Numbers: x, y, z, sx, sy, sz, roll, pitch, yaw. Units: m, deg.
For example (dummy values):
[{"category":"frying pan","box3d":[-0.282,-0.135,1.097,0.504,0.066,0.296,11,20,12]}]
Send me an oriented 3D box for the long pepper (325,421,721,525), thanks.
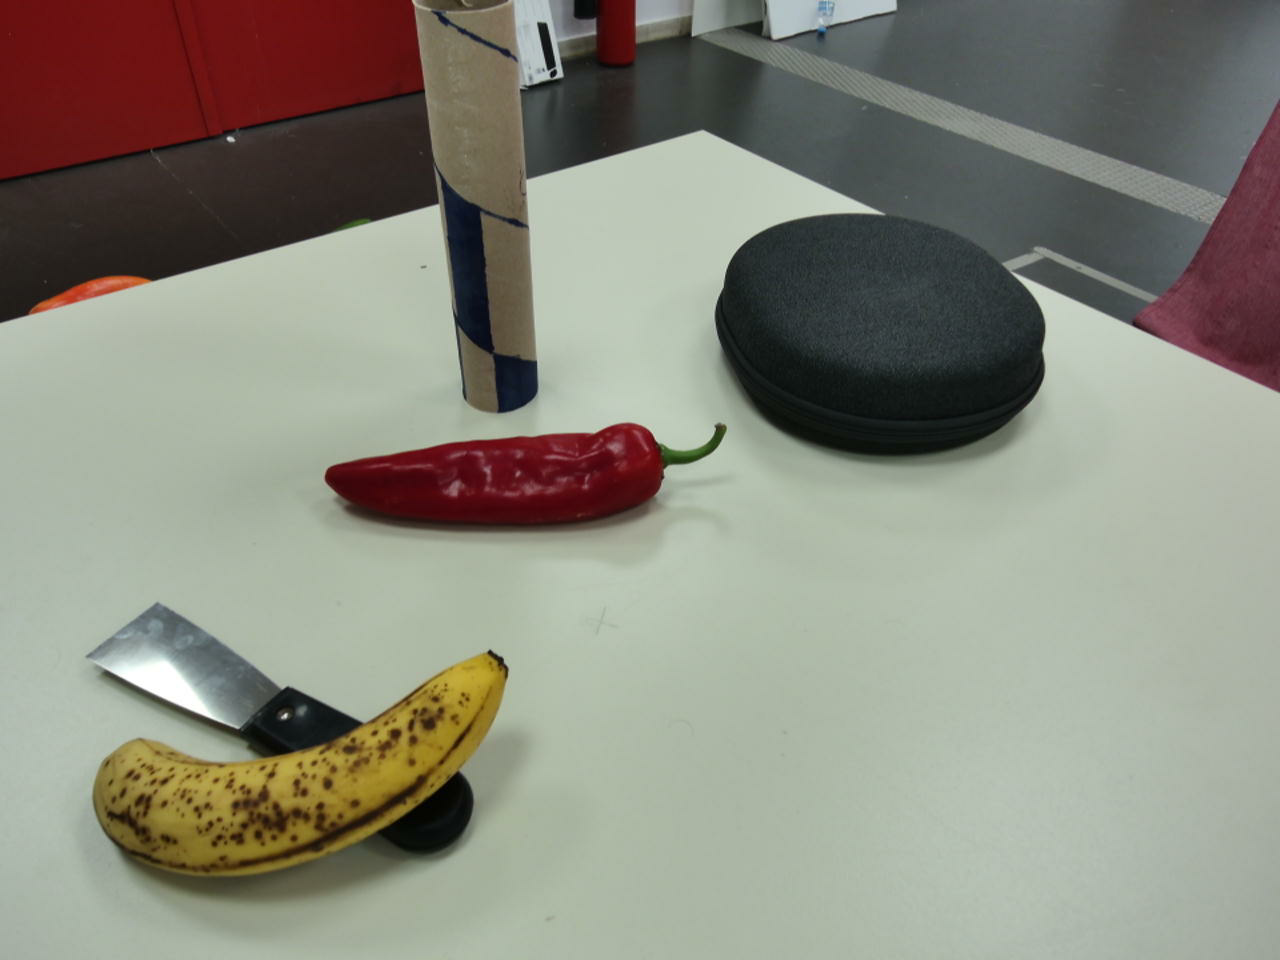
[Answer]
[{"category":"long pepper","box3d":[-0.060,-0.004,0.526,0.211,0.043,0.050,-4,38,-5]}]
